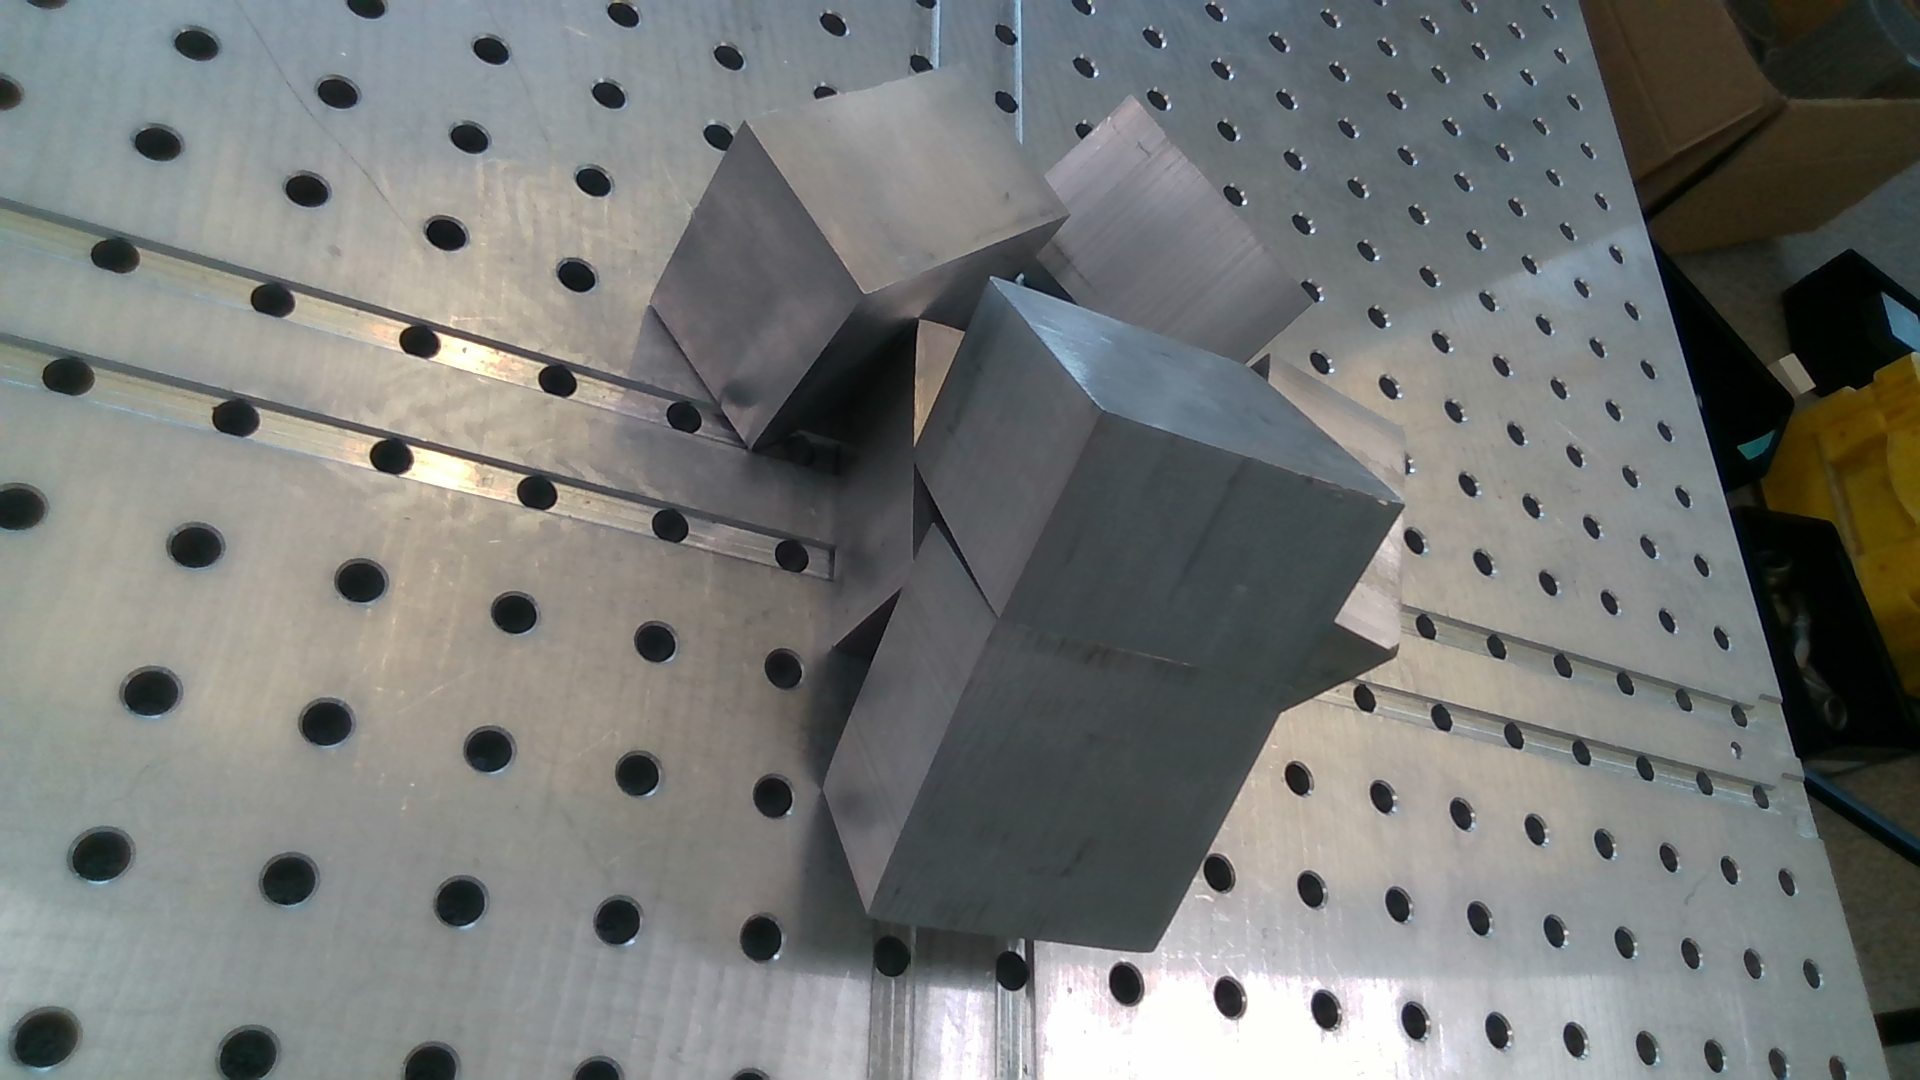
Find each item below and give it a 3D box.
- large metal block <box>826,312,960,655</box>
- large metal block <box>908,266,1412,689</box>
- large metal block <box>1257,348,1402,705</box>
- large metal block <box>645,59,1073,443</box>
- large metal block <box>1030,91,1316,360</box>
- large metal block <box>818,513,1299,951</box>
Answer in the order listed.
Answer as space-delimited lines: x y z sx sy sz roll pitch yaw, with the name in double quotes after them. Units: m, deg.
0.011 -0.007 0.391 0.080 0.050 0.080 15 58 -24 "large metal block"
0.043 -0.016 0.325 0.080 0.050 0.080 15 24 -25 "large metal block"
0.083 0.005 0.410 0.050 0.080 0.080 26 54 -18 "large metal block"
-0.030 -0.080 0.384 0.080 0.080 0.050 -30 84 -38 "large metal block"
0.058 -0.083 0.433 0.050 0.080 0.080 -42 90 5 "large metal block"
0.021 0.049 0.337 0.080 0.080 0.050 15 21 -25 "large metal block"
